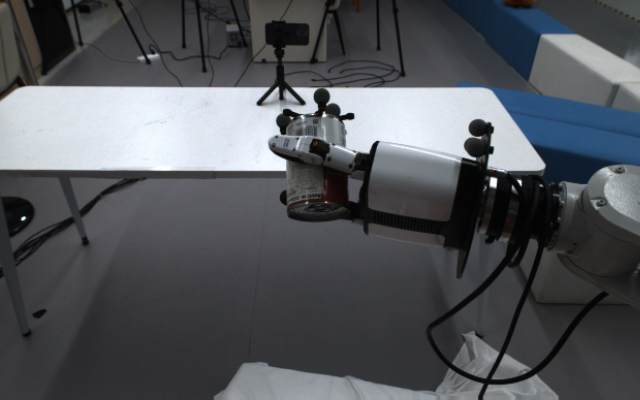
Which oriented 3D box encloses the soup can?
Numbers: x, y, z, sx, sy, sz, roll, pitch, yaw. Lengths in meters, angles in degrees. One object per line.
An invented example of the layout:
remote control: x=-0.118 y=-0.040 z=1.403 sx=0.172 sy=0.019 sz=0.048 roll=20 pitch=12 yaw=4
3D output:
soup can: x=0.000 y=-0.035 z=0.523 sx=0.067 sy=0.067 sz=0.101 roll=-2 pitch=71 yaw=-5
